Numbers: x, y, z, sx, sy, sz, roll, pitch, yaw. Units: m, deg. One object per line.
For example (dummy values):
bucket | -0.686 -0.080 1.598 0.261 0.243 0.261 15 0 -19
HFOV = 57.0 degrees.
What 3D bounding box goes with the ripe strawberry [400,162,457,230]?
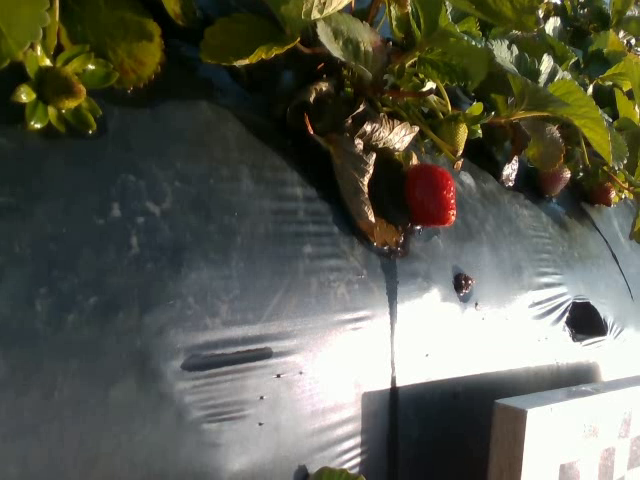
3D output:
ripe strawberry | 0.059 -0.016 0.295 0.037 0.054 0.046 -40 -49 20
